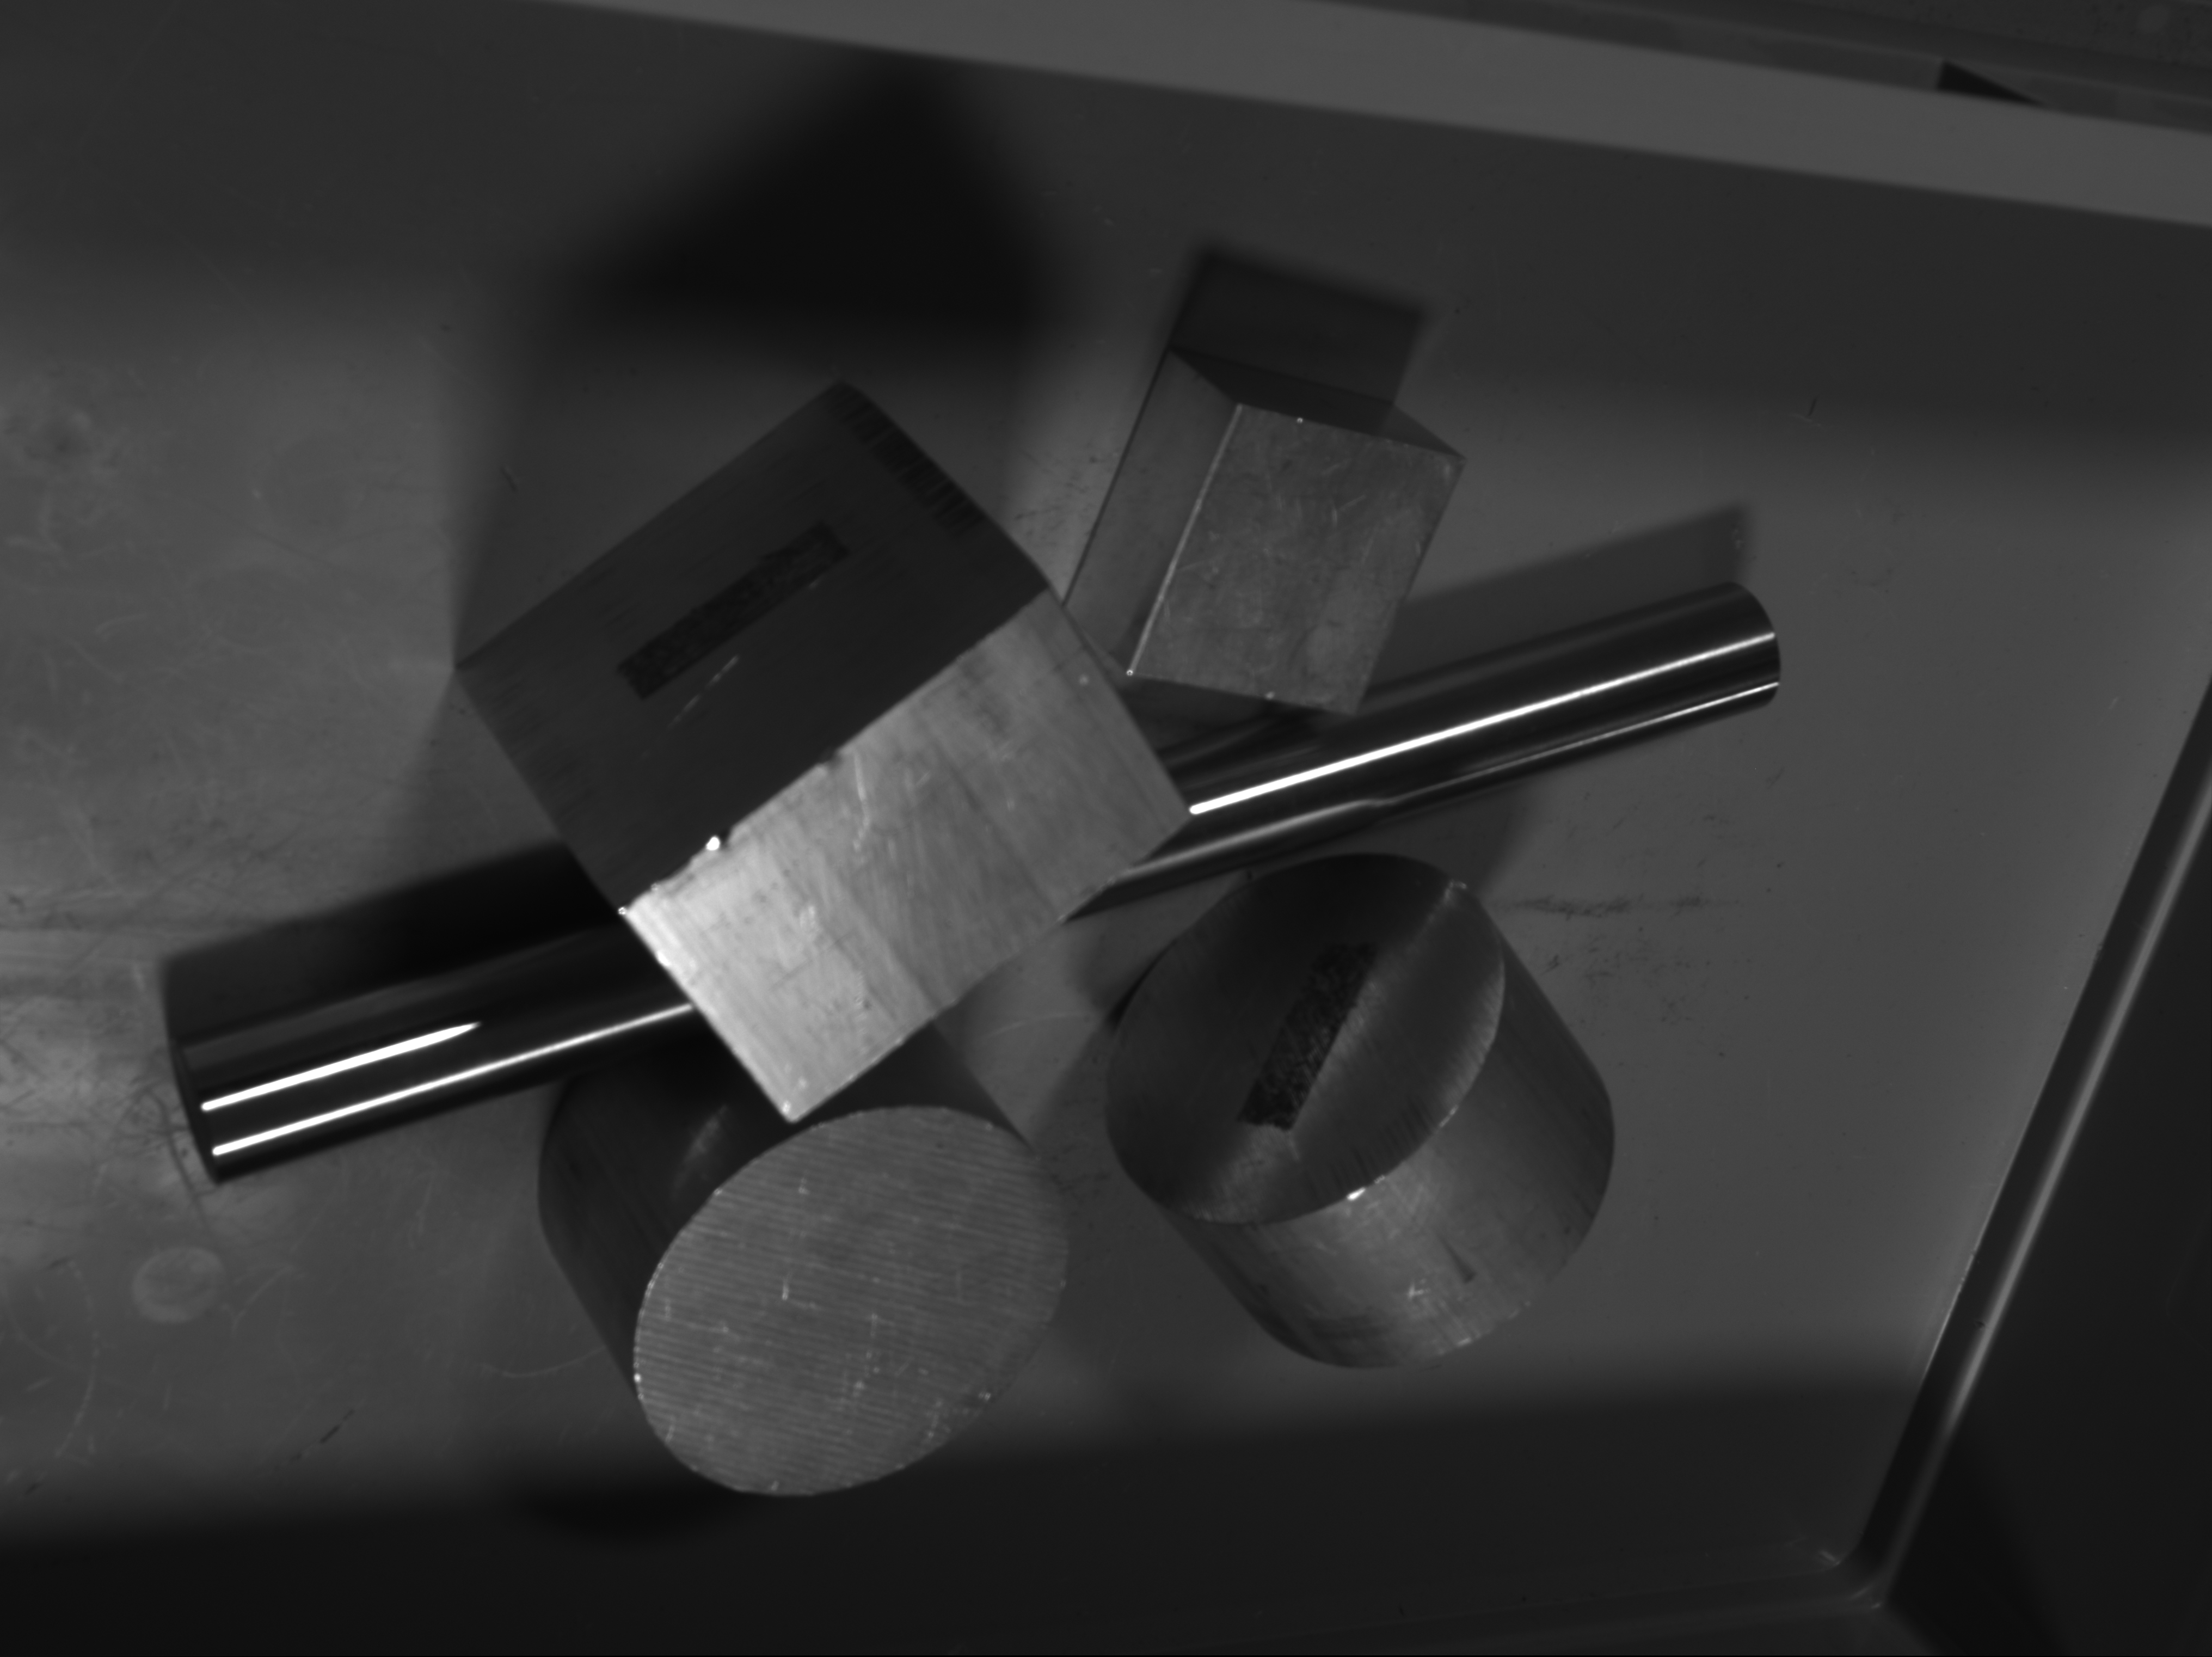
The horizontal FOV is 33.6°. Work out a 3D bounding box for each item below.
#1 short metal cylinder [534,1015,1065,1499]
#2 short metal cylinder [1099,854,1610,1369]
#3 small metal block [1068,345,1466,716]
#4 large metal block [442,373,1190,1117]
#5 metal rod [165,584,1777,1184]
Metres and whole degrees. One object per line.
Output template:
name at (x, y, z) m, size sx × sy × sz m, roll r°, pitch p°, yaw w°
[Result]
short metal cylinder at (-0.054, 0.070, 0.644) m, size 0.080 × 0.050 × 0.080 m, roll -15°, pitch 125°, yaw -22°
short metal cylinder at (0.046, 0.052, 0.673) m, size 0.080 × 0.080 × 0.050 m, roll -41°, pitch 130°, yaw -2°
small metal block at (0.027, -0.051, 0.634) m, size 0.050 × 0.025 × 0.050 m, roll 9°, pitch 113°, yaw -34°
large metal block at (-0.047, -0.015, 0.578) m, size 0.080 × 0.080 × 0.050 m, roll -37°, pitch 130°, yaw -5°
metal rod at (-0.014, 0.005, 0.645) m, size 0.301 × 0.025 × 0.025 m, roll -17°, pitch 125°, yaw -21°
